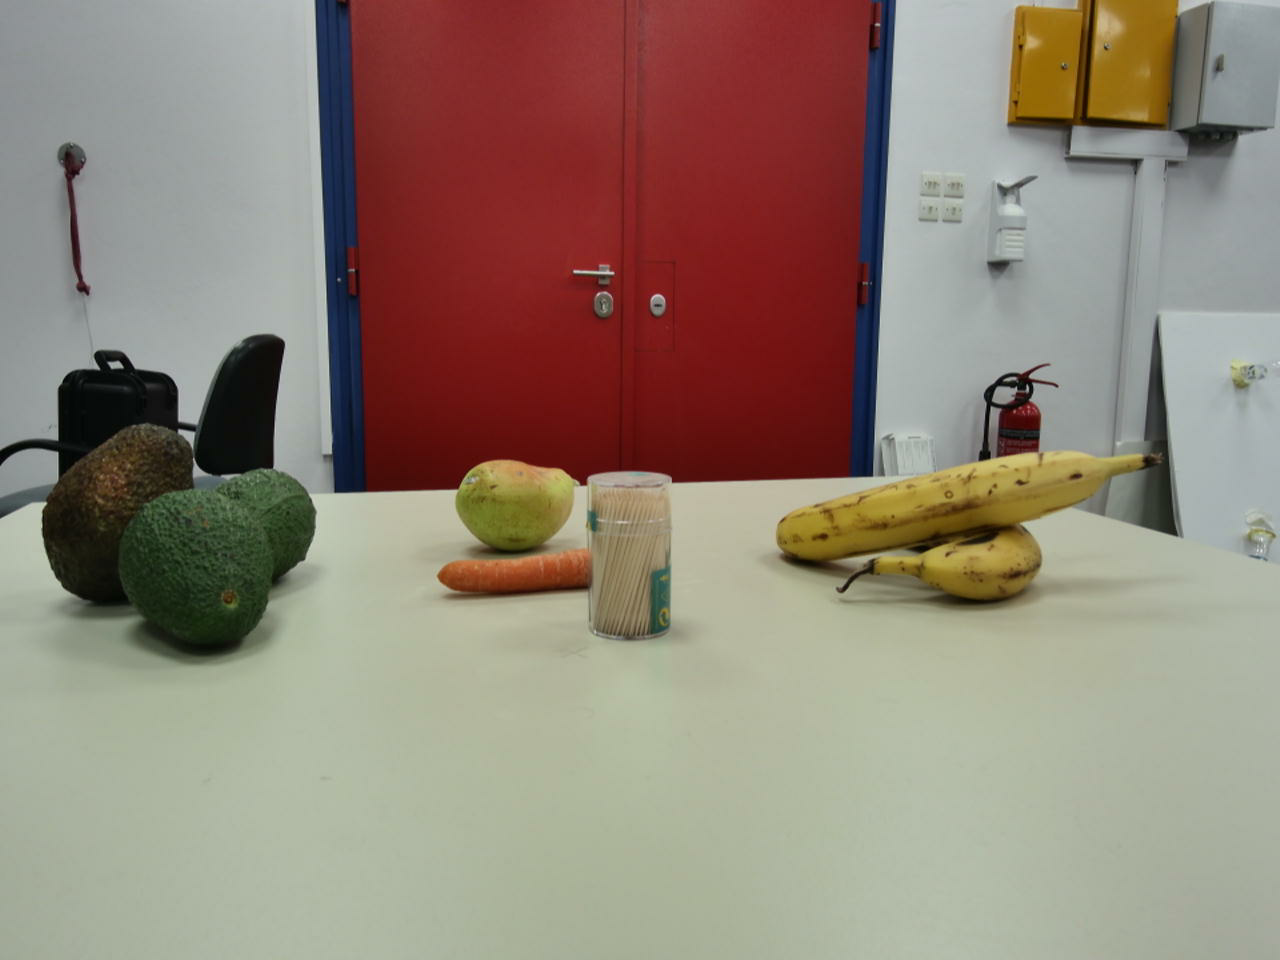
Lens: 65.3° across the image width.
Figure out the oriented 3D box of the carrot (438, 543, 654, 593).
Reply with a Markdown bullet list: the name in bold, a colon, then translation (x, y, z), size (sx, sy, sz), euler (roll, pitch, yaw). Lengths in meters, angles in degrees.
- **carrot**: translation (-0.051, 0.050, 0.565), size (0.122, 0.023, 0.024), euler (-2, 7, -16)
